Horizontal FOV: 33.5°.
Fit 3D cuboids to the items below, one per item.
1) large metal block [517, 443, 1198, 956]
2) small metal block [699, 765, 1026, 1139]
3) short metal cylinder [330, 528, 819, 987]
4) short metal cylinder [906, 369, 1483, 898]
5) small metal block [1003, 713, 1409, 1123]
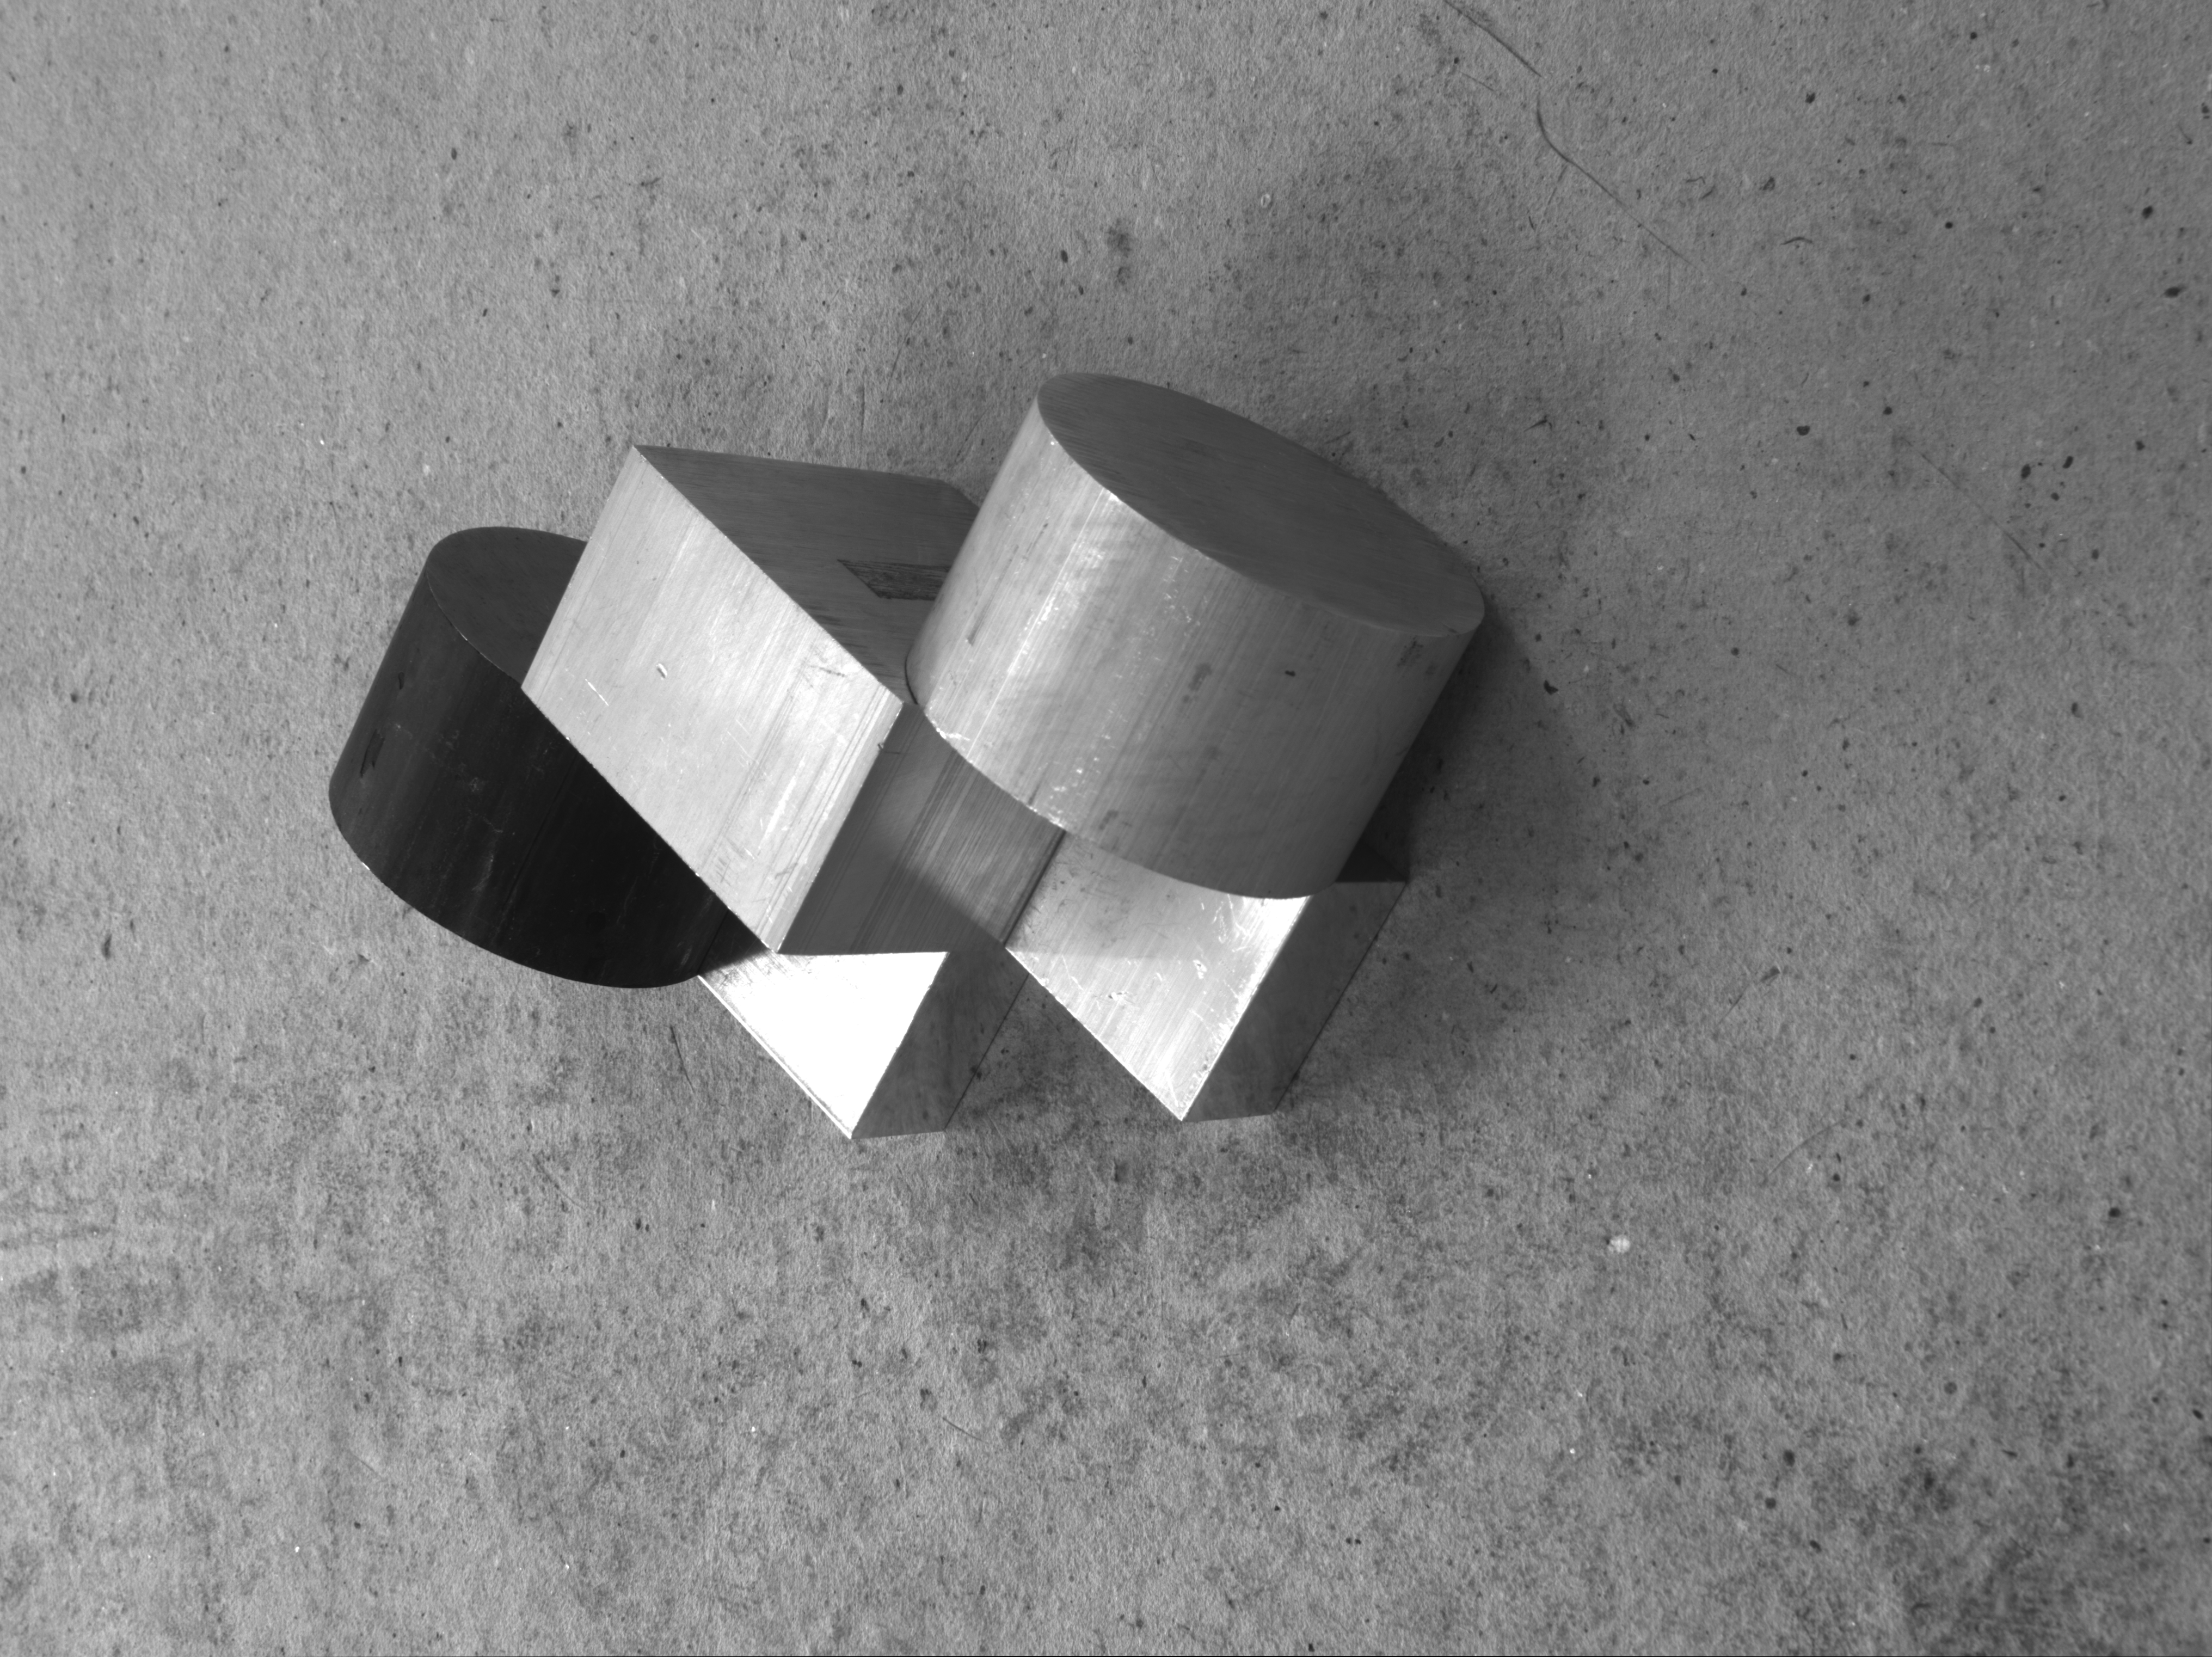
[{"bbox_3d":[-0.042,-0.022,0.646,0.080,0.080,0.050,42,115,32],"label":"large metal block"},{"bbox_3d":[-0.043,0.022,0.683,0.050,0.025,0.050,43,116,32],"label":"small metal block"},{"bbox_3d":[-0.099,-0.014,0.694,0.080,0.080,0.050,43,116,32],"label":"short metal cylinder"},{"bbox_3d":[0.014,-0.032,0.598,0.080,0.080,0.050,43,116,32],"label":"short metal cylinder"},{"bbox_3d":[0.016,0.015,0.632,0.050,0.025,0.050,43,116,32],"label":"small metal block"}]
